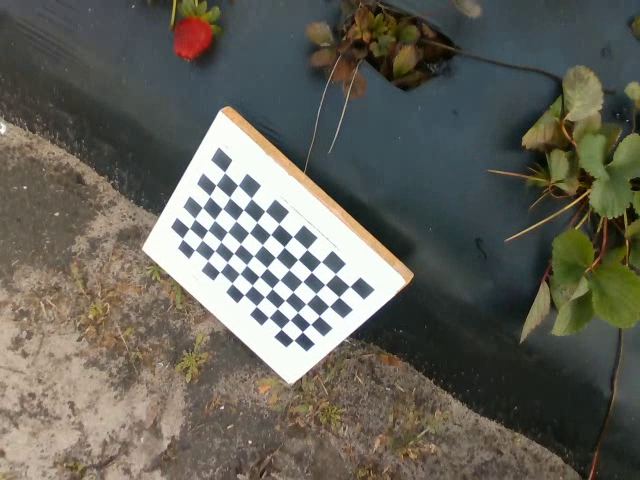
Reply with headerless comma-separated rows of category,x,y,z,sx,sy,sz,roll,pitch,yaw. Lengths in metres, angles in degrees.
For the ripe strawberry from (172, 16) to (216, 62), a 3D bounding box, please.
ripe strawberry,-0.141,-0.216,0.649,0.046,0.055,0.042,2,-35,32
